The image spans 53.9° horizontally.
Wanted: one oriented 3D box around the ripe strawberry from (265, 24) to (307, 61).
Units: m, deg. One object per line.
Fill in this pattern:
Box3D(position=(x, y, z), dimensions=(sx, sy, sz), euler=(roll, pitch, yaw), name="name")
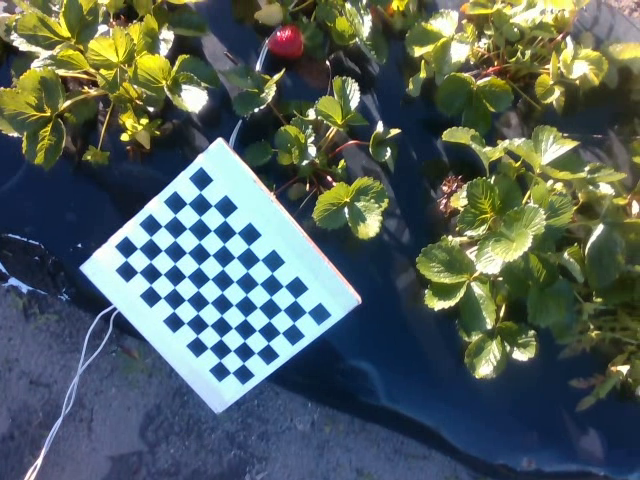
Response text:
Box3D(position=(-0.052, -0.315, 0.992), dimensions=(0.080, 0.062, 0.040), euler=(-22, 17, -32), name="ripe strawberry")
